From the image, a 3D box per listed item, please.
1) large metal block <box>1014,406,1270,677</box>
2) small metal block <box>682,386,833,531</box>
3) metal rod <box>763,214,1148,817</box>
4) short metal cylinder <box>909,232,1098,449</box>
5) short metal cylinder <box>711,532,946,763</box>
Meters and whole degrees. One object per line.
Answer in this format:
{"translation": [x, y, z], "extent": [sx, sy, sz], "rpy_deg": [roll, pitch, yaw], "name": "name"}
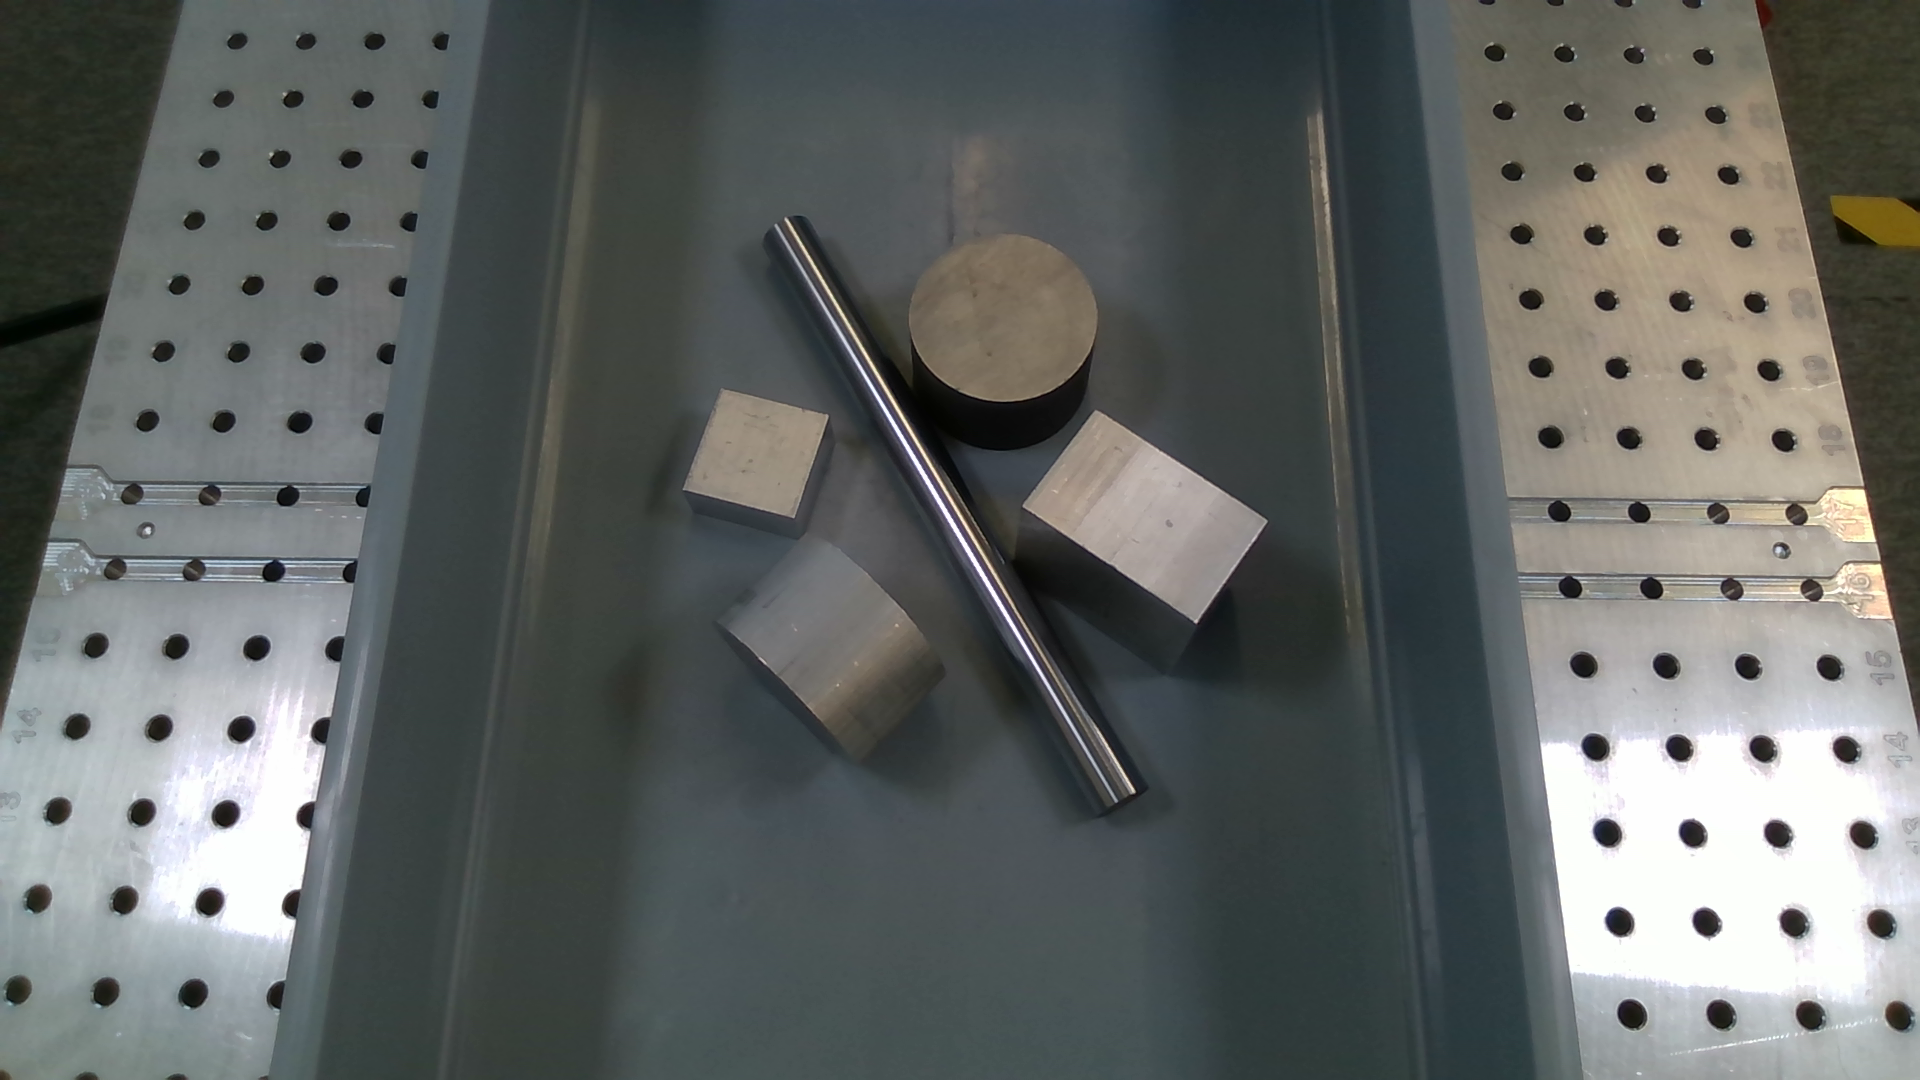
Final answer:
{"translation": [0.070, 0.003, 0.557], "extent": [0.080, 0.080, 0.050], "rpy_deg": [34, 74, 11], "name": "large metal block"}
{"translation": [-0.087, -0.034, 0.599], "extent": [0.050, 0.025, 0.050], "rpy_deg": [14, 71, 5], "name": "small metal block"}
{"translation": [-0.008, -0.019, 0.594], "extent": [0.025, 0.025, 0.299], "rpy_deg": [-28, 73, -9], "name": "metal rod"}
{"translation": [0.018, -0.087, 0.605], "extent": [0.080, 0.050, 0.080], "rpy_deg": [0, 70, 0], "name": "short metal cylinder"}
{"translation": [-0.052, 0.043, 0.543], "extent": [0.080, 0.080, 0.050], "rpy_deg": [41, 76, 13], "name": "short metal cylinder"}
